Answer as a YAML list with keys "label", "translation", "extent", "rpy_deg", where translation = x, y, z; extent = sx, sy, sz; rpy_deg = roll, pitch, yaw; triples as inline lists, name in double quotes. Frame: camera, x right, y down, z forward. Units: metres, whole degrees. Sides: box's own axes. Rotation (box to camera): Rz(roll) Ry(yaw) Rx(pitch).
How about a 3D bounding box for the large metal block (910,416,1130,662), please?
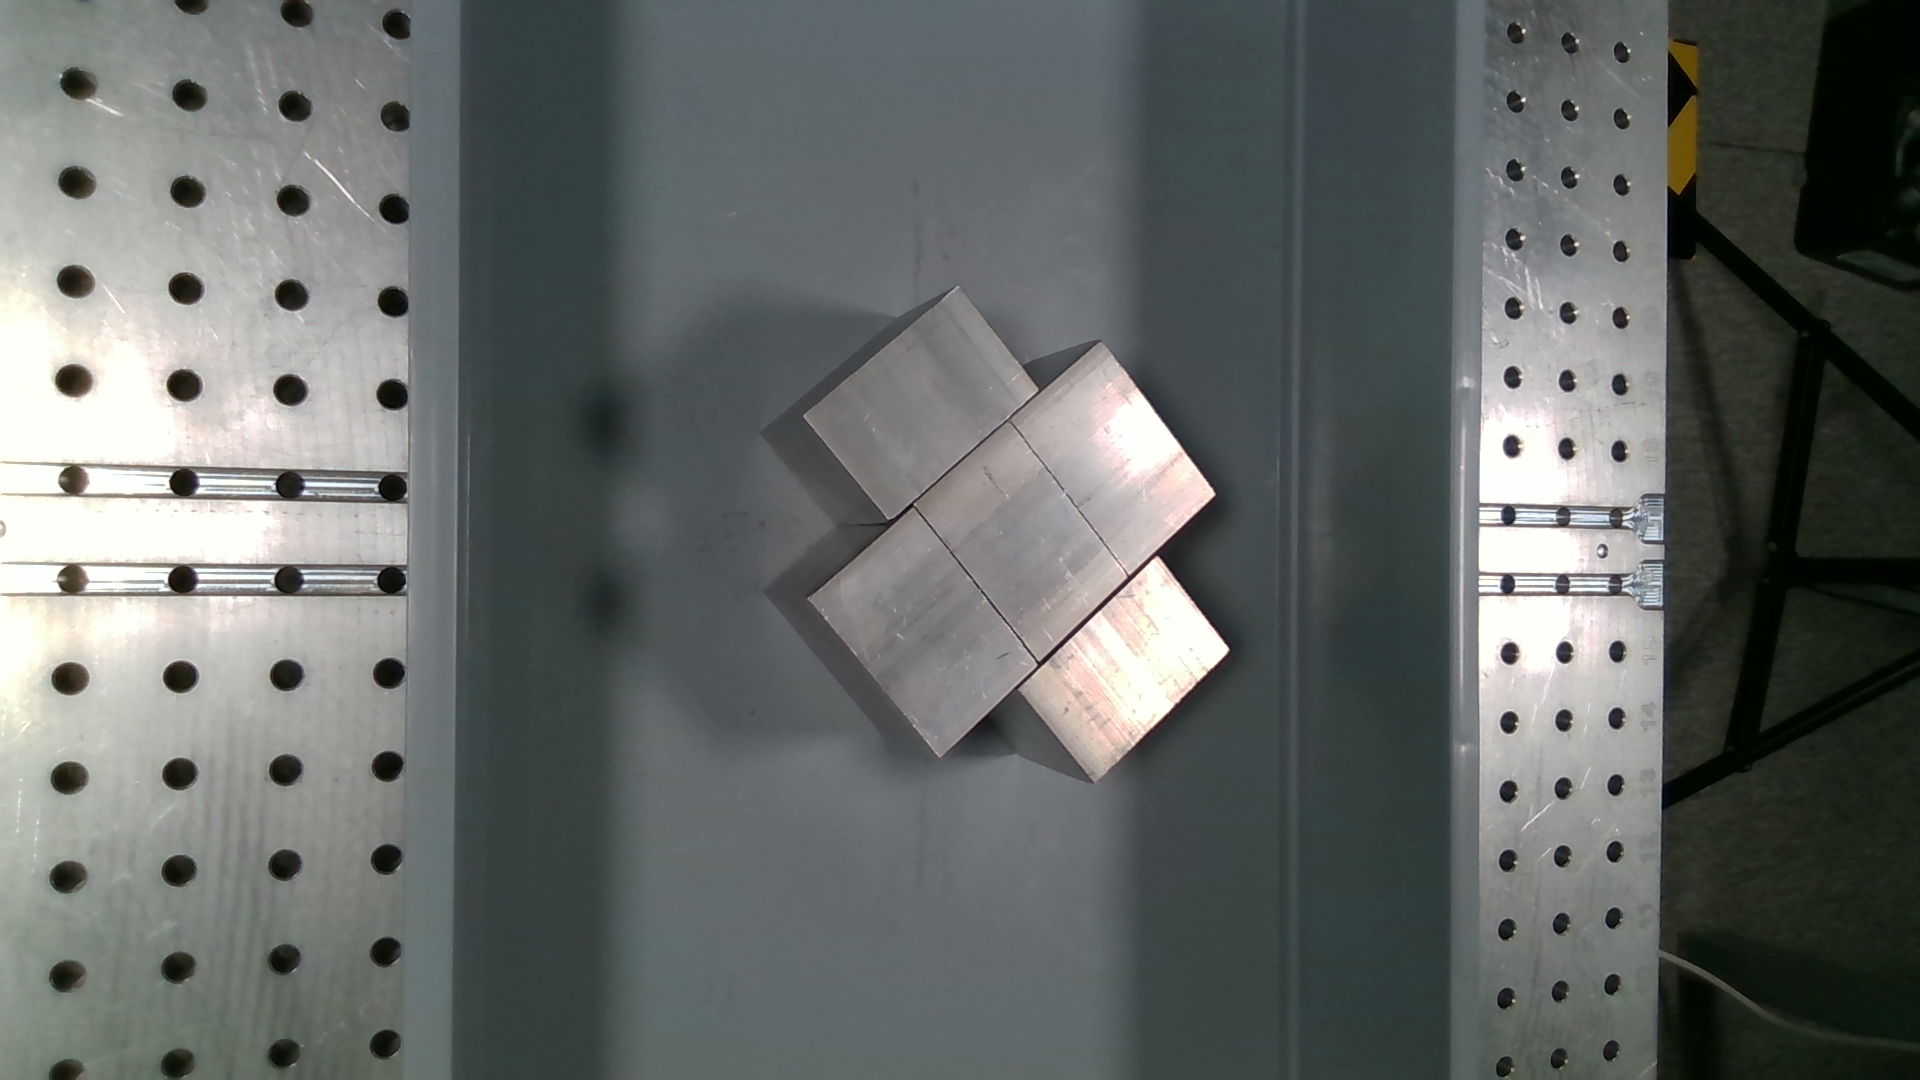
- label: "large metal block"
  translation: [0.011, 0.000, 0.560]
  extent: [0.050, 0.080, 0.080]
  rpy_deg: [-42, 103, -15]

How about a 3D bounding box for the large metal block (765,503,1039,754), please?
- label: "large metal block"
  translation: [-0.026, 0.033, 0.547]
  extent: [0.050, 0.080, 0.080]
  rpy_deg: [-42, 103, -15]

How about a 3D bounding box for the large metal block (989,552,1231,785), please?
- label: "large metal block"
  translation: [0.051, 0.050, 0.576]
  extent: [0.080, 0.080, 0.050]
  rpy_deg: [-43, 104, -15]

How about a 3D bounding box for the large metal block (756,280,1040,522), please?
- label: "large metal block"
  translation: [-0.027, -0.052, 0.546]
  extent: [0.080, 0.080, 0.050]
  rpy_deg: [-43, 104, -15]

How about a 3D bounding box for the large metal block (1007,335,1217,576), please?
- label: "large metal block"
  translation: [0.047, -0.033, 0.573]
  extent: [0.050, 0.080, 0.080]
  rpy_deg: [-42, 103, -15]
